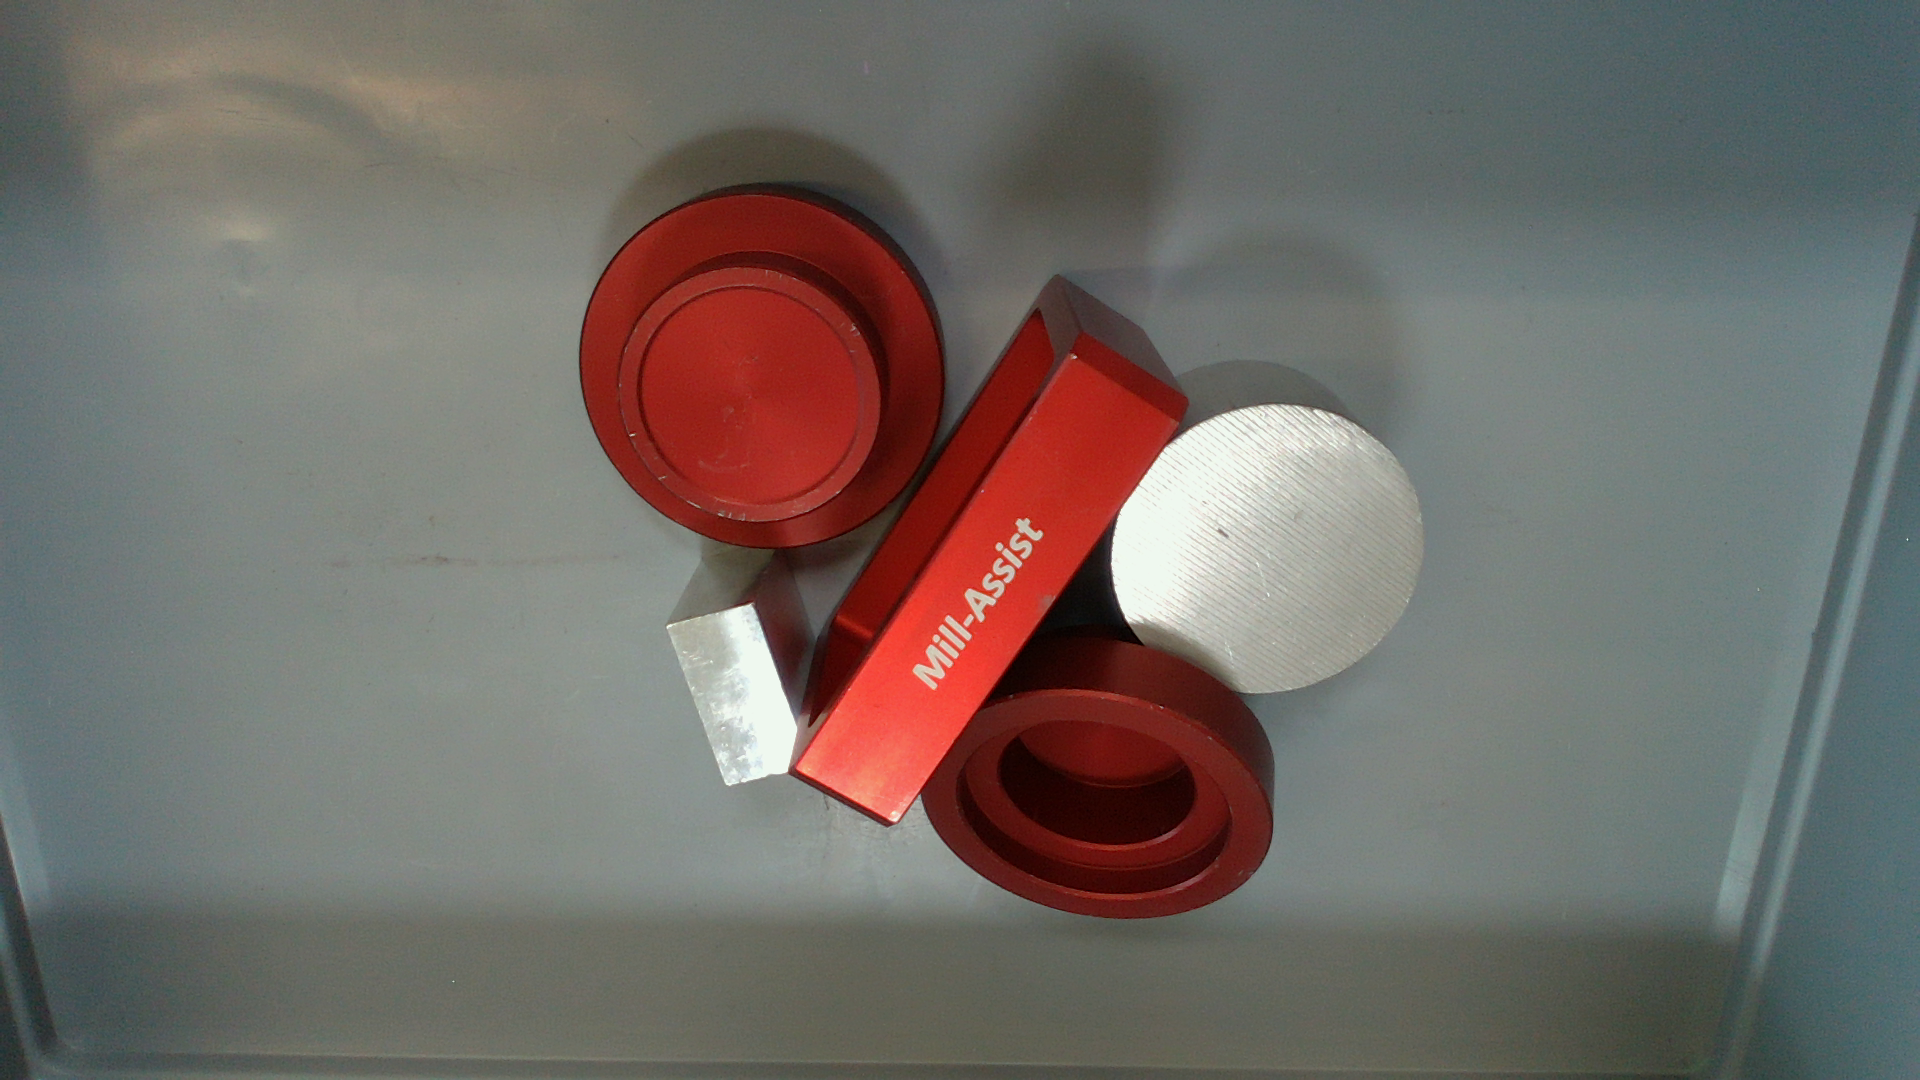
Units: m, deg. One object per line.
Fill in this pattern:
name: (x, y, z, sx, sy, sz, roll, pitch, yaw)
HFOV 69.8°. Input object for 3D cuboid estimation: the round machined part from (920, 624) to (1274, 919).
round machined part: (0.040, 0.063, 0.394, 0.098, 0.042, 0.098, 7, 132, 8)

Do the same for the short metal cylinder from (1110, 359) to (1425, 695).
short metal cylinder: (0.080, -0.005, 0.378, 0.080, 0.050, 0.080, 0, 110, 0)

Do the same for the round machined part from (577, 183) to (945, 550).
round machined part: (-0.053, -0.043, 0.367, 0.098, 0.042, 0.098, 0, 110, 0)

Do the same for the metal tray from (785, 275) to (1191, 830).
metal tray: (0.004, 0.000, 0.358, 0.030, 0.090, 0.130, 31, 107, -11)

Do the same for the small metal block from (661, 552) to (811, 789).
small metal block: (-0.059, 0.034, 0.391, 0.025, 0.050, 0.050, -14, 110, 5)
